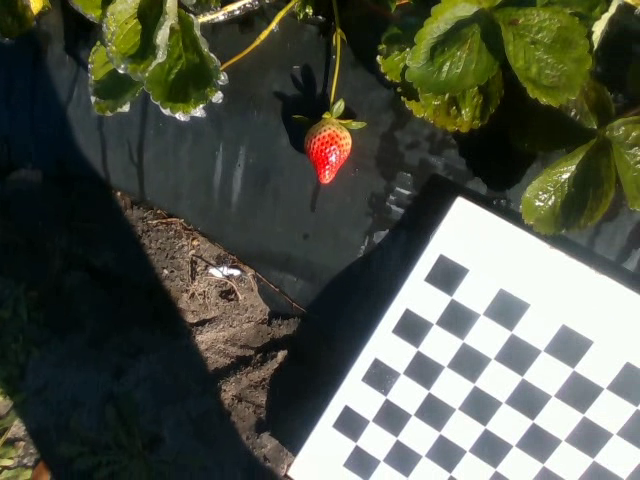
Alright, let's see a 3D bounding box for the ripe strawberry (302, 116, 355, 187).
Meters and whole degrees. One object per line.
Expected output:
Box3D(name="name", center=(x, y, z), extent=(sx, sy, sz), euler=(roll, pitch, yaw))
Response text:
Box3D(name="ripe strawberry", center=(0.007, -0.064, 0.423), extent=(0.039, 0.053, 0.040), euler=(9, -4, 16))
